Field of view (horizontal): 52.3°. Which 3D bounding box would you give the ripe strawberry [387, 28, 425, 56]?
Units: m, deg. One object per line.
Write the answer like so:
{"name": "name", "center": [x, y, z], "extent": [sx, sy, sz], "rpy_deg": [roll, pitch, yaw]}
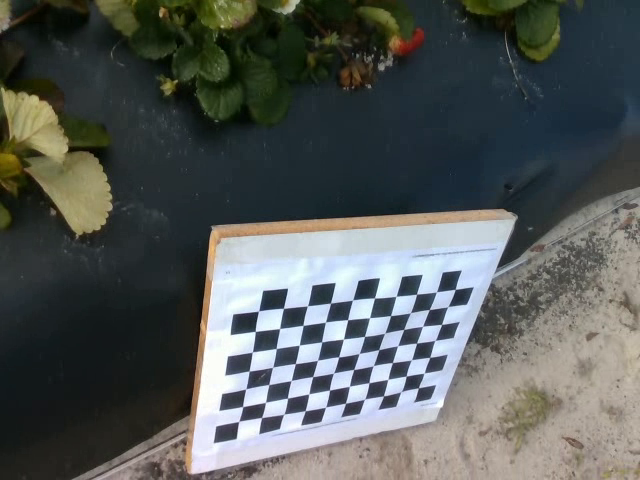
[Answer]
{"name": "ripe strawberry", "center": [0.051, -0.126, 0.398], "extent": [0.027, 0.021, 0.022], "rpy_deg": [-18, -39, 0]}
